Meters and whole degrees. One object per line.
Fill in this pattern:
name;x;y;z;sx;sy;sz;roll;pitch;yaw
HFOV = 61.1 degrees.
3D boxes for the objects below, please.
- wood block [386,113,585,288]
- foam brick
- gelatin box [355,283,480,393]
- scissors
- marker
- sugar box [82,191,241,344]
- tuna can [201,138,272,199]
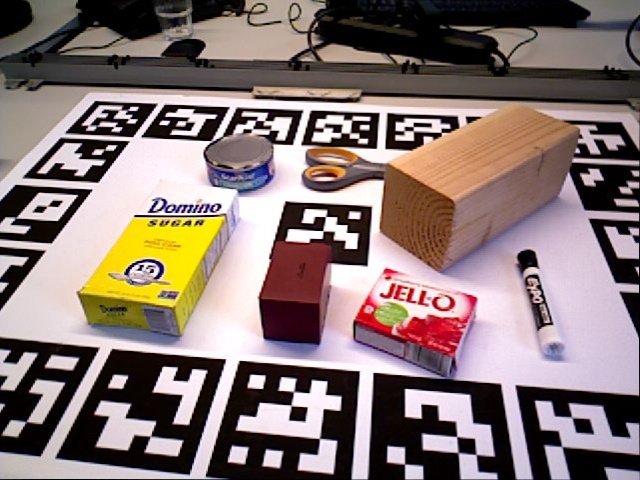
wood block;0.177;-0.048;0.571;0.202;0.093;0.090;-28;47;-26
foam brick;-0.017;0.057;0.484;0.053;0.052;0.076;5;43;9
gelatin box;0.084;0.082;0.474;0.089;0.031;0.071;17;46;21
scissors;0.071;-0.072;0.656;0.203;0.016;0.086;8;43;15
marker;0.198;0.066;0.490;0.019;0.020;0.118;5;45;8
sugar box;-0.150;0.020;0.546;0.093;0.046;0.172;8;43;10
tuna can;-0.102;-0.088;0.665;0.085;0.034;0.084;-2;43;1
